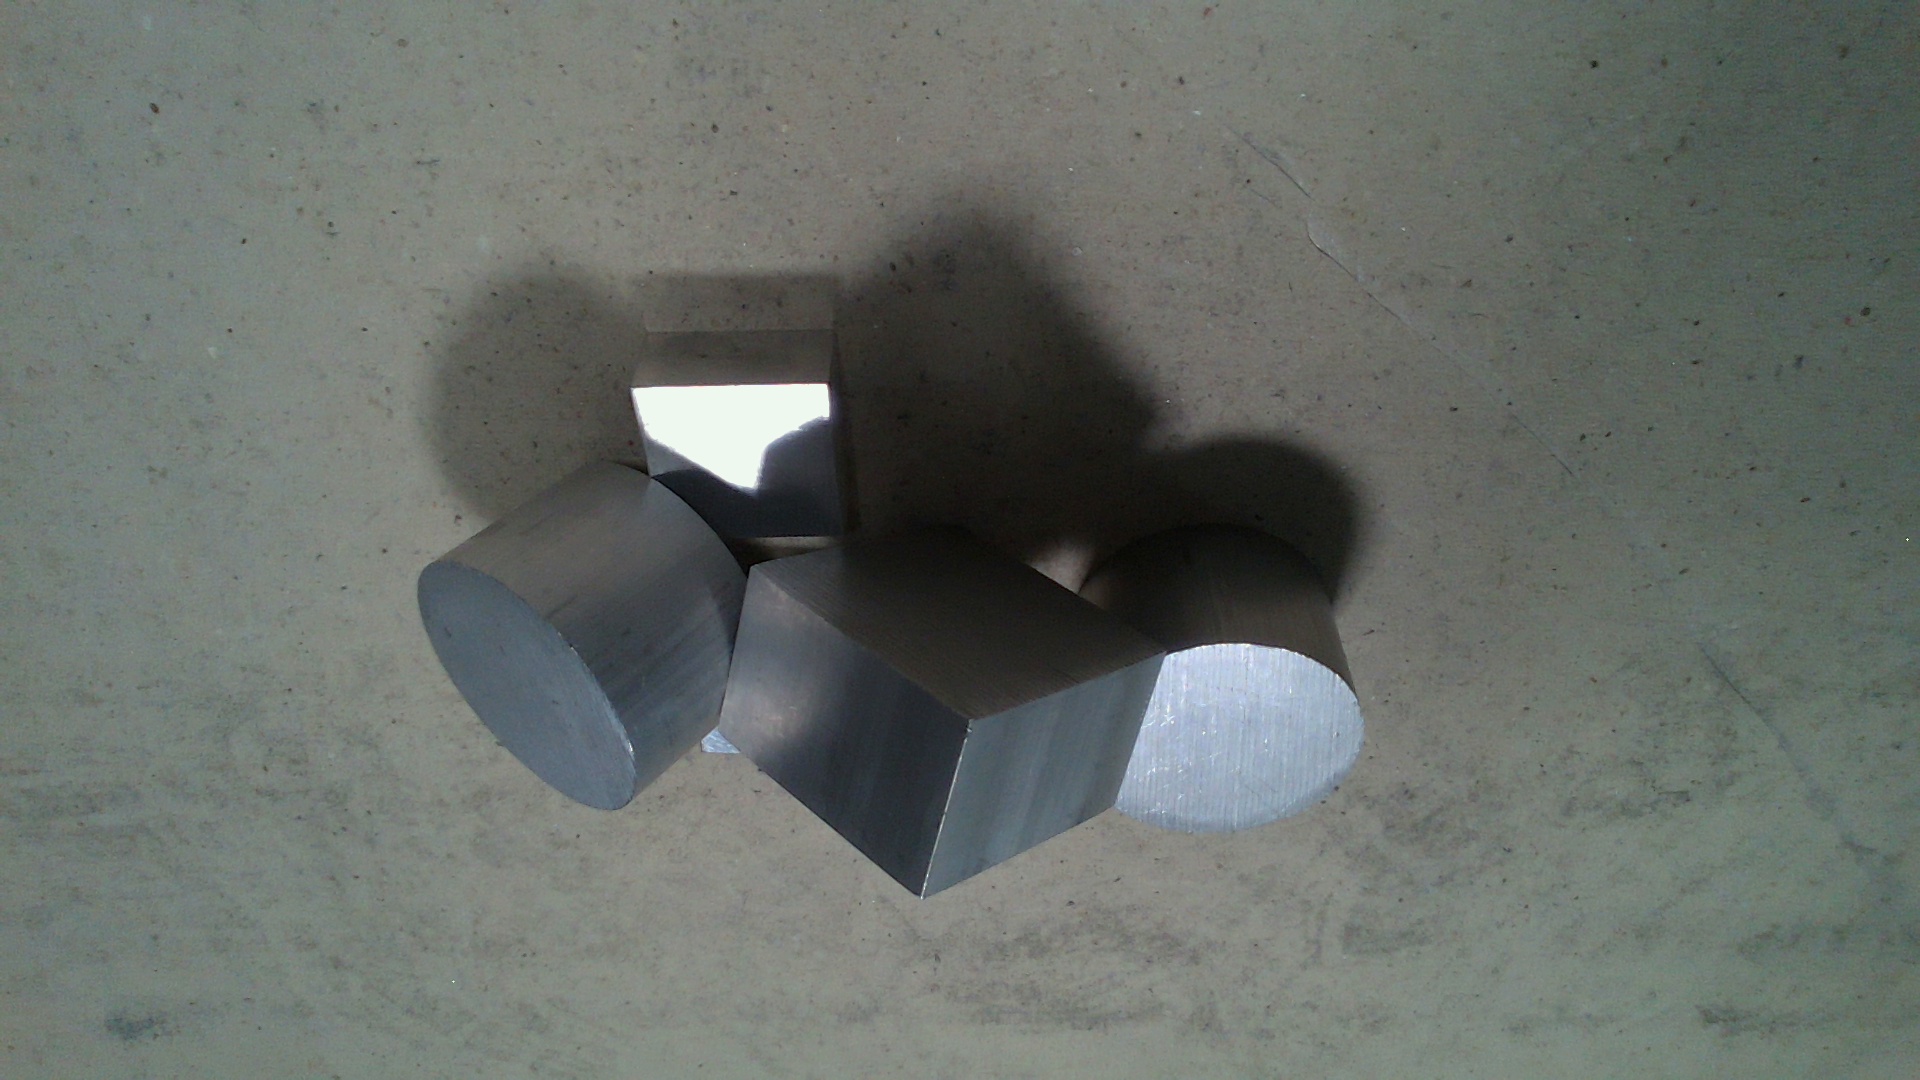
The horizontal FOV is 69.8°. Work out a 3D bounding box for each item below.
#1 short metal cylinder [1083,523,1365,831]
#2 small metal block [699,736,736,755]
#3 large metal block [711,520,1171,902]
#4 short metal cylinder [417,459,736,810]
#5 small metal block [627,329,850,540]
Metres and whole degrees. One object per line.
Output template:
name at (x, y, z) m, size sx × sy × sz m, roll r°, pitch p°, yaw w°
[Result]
short metal cylinder at (0.074, 0.042, 0.410) m, size 0.080 × 0.050 × 0.080 m, roll 0°, pitch 130°, yaw 0°
small metal block at (-0.055, 0.041, 0.424) m, size 0.050 × 0.025 × 0.050 m, roll 2°, pitch 130°, yaw -2°
large metal block at (-0.005, 0.039, 0.363) m, size 0.080 × 0.080 × 0.050 m, roll -12°, pitch 125°, yaw -47°
short metal cylinder at (-0.099, 0.025, 0.372) m, size 0.080 × 0.050 × 0.080 m, roll 25°, pitch 137°, yaw 26°
small metal block at (-0.057, -0.028, 0.367) m, size 0.050 × 0.025 × 0.050 m, roll -1°, pitch 130°, yaw 1°
